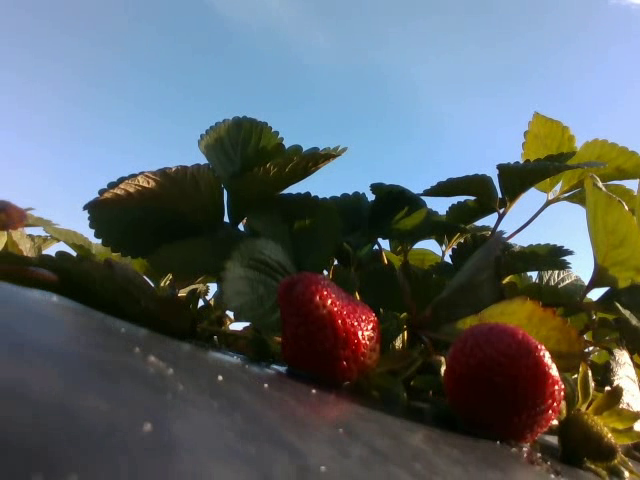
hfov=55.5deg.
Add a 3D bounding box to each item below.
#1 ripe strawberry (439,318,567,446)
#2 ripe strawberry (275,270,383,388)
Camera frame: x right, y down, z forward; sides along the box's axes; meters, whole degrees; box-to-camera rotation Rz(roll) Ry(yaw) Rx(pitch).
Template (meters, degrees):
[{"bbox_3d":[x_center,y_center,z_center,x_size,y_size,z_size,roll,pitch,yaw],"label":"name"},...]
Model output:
[{"bbox_3d":[0.062,0.040,0.194,0.043,0.039,0.053,35,-25,10],"label":"ripe strawberry"},{"bbox_3d":[0.003,0.034,0.232,0.039,0.054,0.048,-35,21,7],"label":"ripe strawberry"}]
